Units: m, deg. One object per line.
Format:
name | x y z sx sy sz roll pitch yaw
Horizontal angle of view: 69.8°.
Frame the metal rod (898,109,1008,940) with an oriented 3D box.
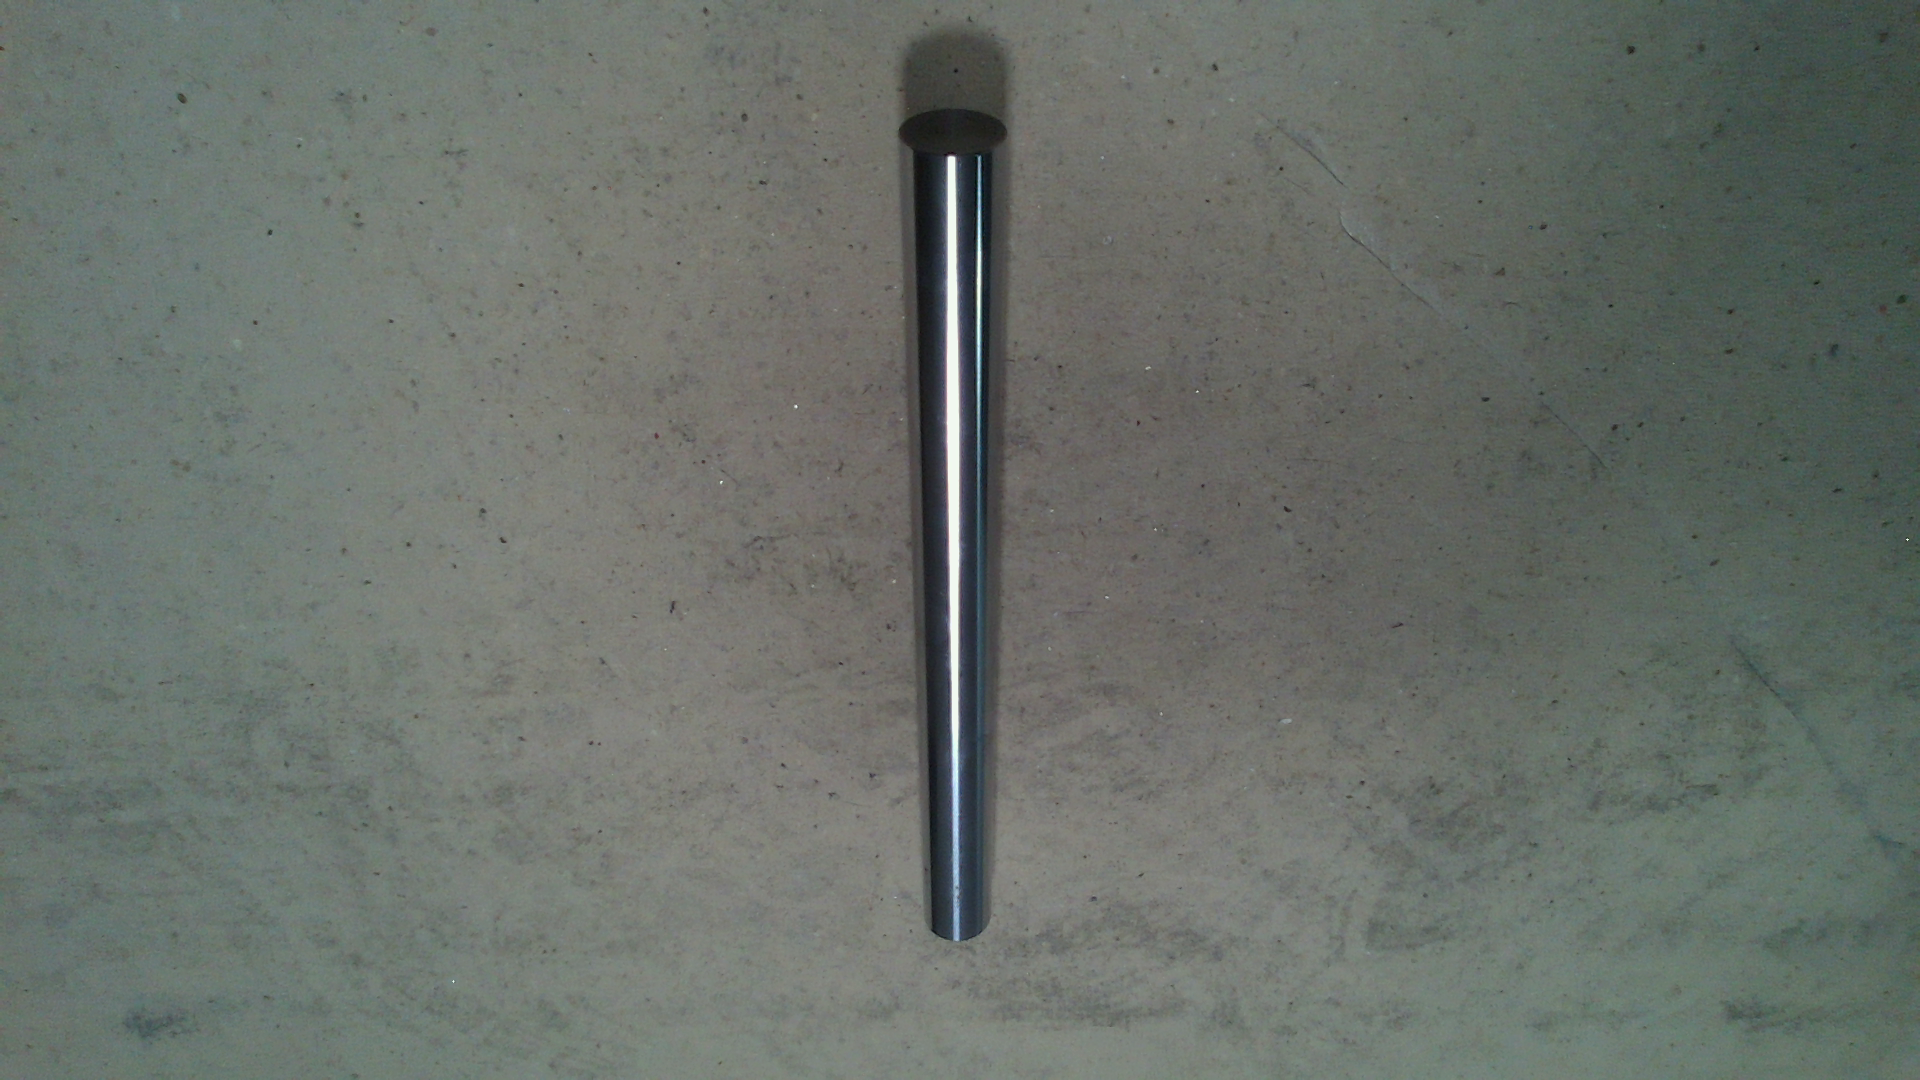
metal rod | -0.002 0.022 0.409 0.025 0.025 0.300 0 130 0
